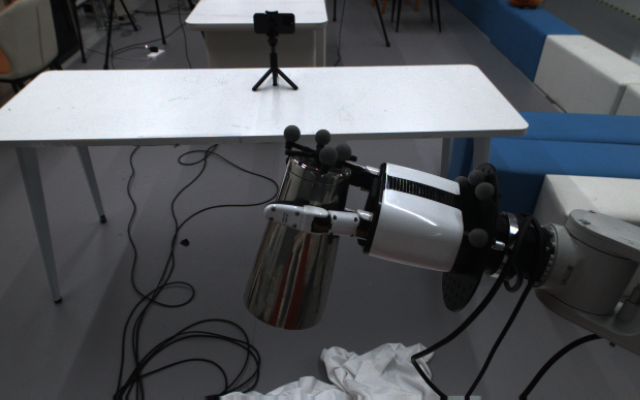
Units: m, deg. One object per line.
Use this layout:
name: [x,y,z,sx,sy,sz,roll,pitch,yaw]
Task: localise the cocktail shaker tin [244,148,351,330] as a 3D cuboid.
cocktail shaker tin: [-0.017,0.038,0.521,0.093,0.170,0.093,14,19,-5]
